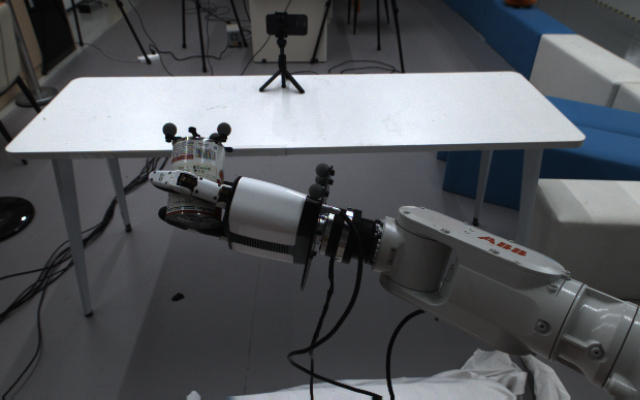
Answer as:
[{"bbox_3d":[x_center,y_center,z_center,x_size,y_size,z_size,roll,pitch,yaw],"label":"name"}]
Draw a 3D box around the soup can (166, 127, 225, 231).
[{"bbox_3d":[-0.155,-0.019,0.606,0.067,0.067,0.101,1,73,-2],"label":"soup can"}]
